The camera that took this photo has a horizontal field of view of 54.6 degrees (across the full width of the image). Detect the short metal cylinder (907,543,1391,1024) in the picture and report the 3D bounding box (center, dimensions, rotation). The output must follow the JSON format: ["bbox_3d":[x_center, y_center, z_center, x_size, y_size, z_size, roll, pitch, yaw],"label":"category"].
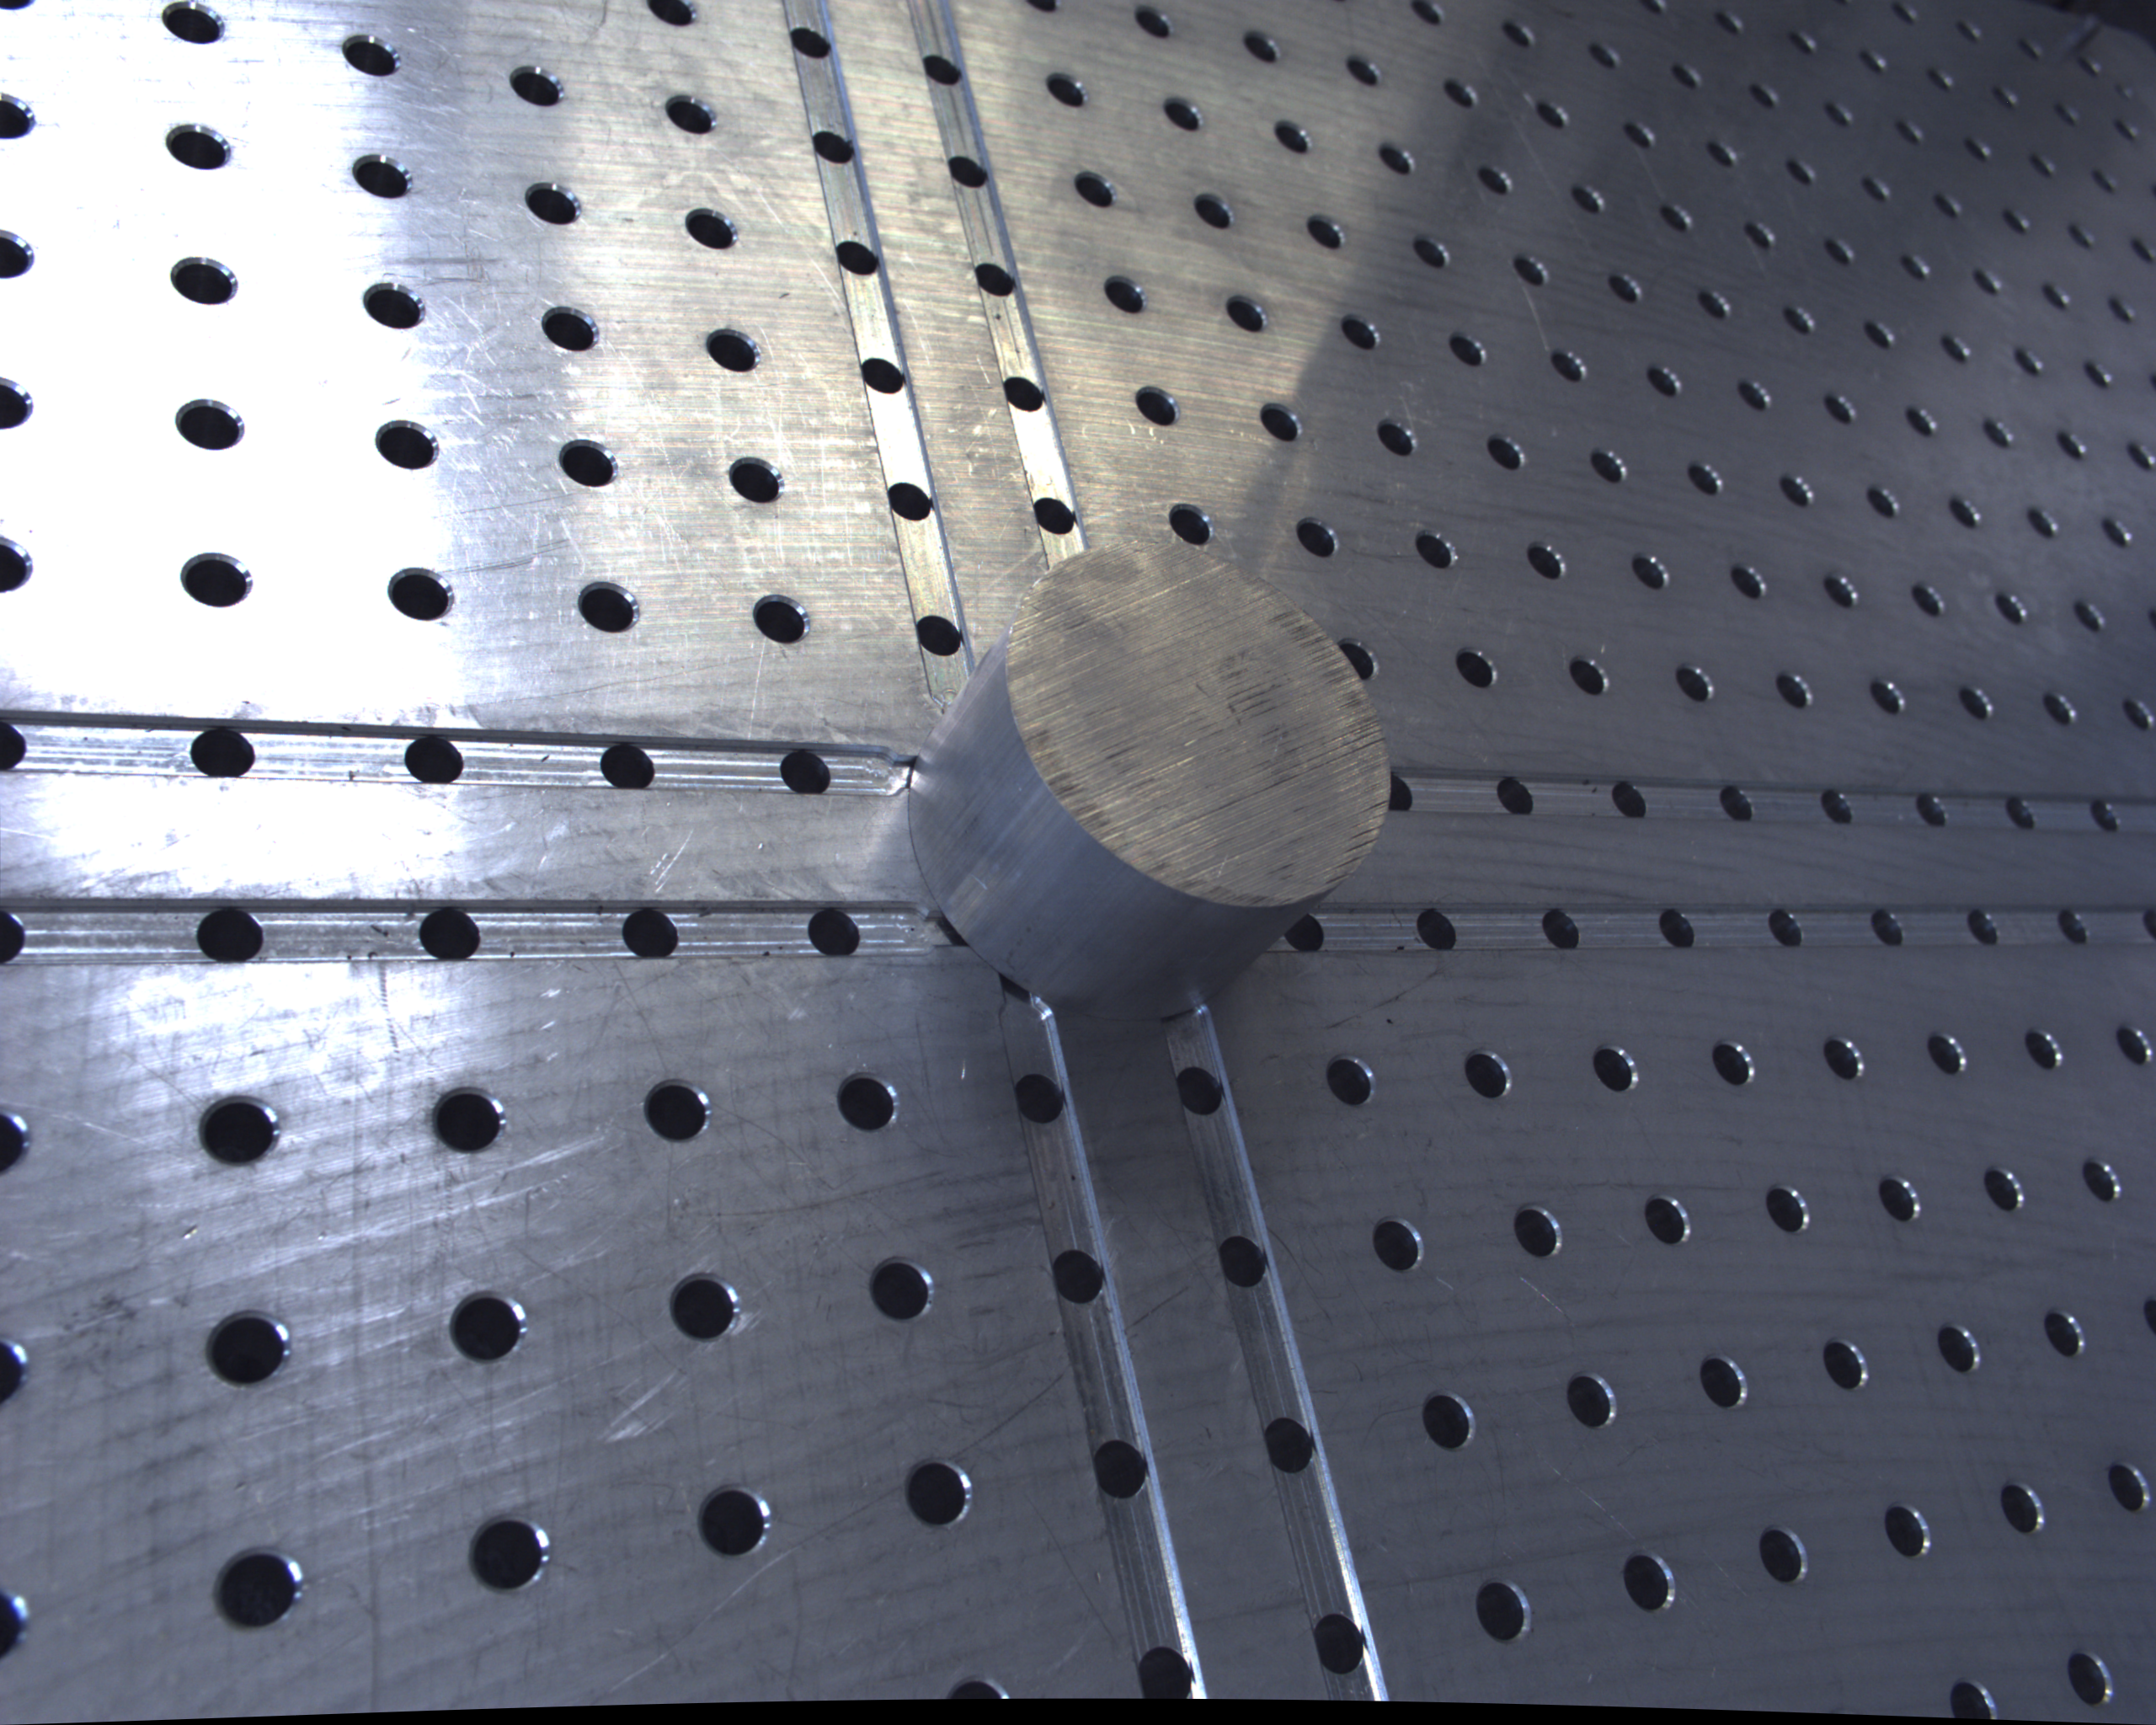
[{"bbox_3d":[0.013,-0.015,0.408,0.081,0.050,0.080,13,56,-21],"label":"short metal cylinder"}]
